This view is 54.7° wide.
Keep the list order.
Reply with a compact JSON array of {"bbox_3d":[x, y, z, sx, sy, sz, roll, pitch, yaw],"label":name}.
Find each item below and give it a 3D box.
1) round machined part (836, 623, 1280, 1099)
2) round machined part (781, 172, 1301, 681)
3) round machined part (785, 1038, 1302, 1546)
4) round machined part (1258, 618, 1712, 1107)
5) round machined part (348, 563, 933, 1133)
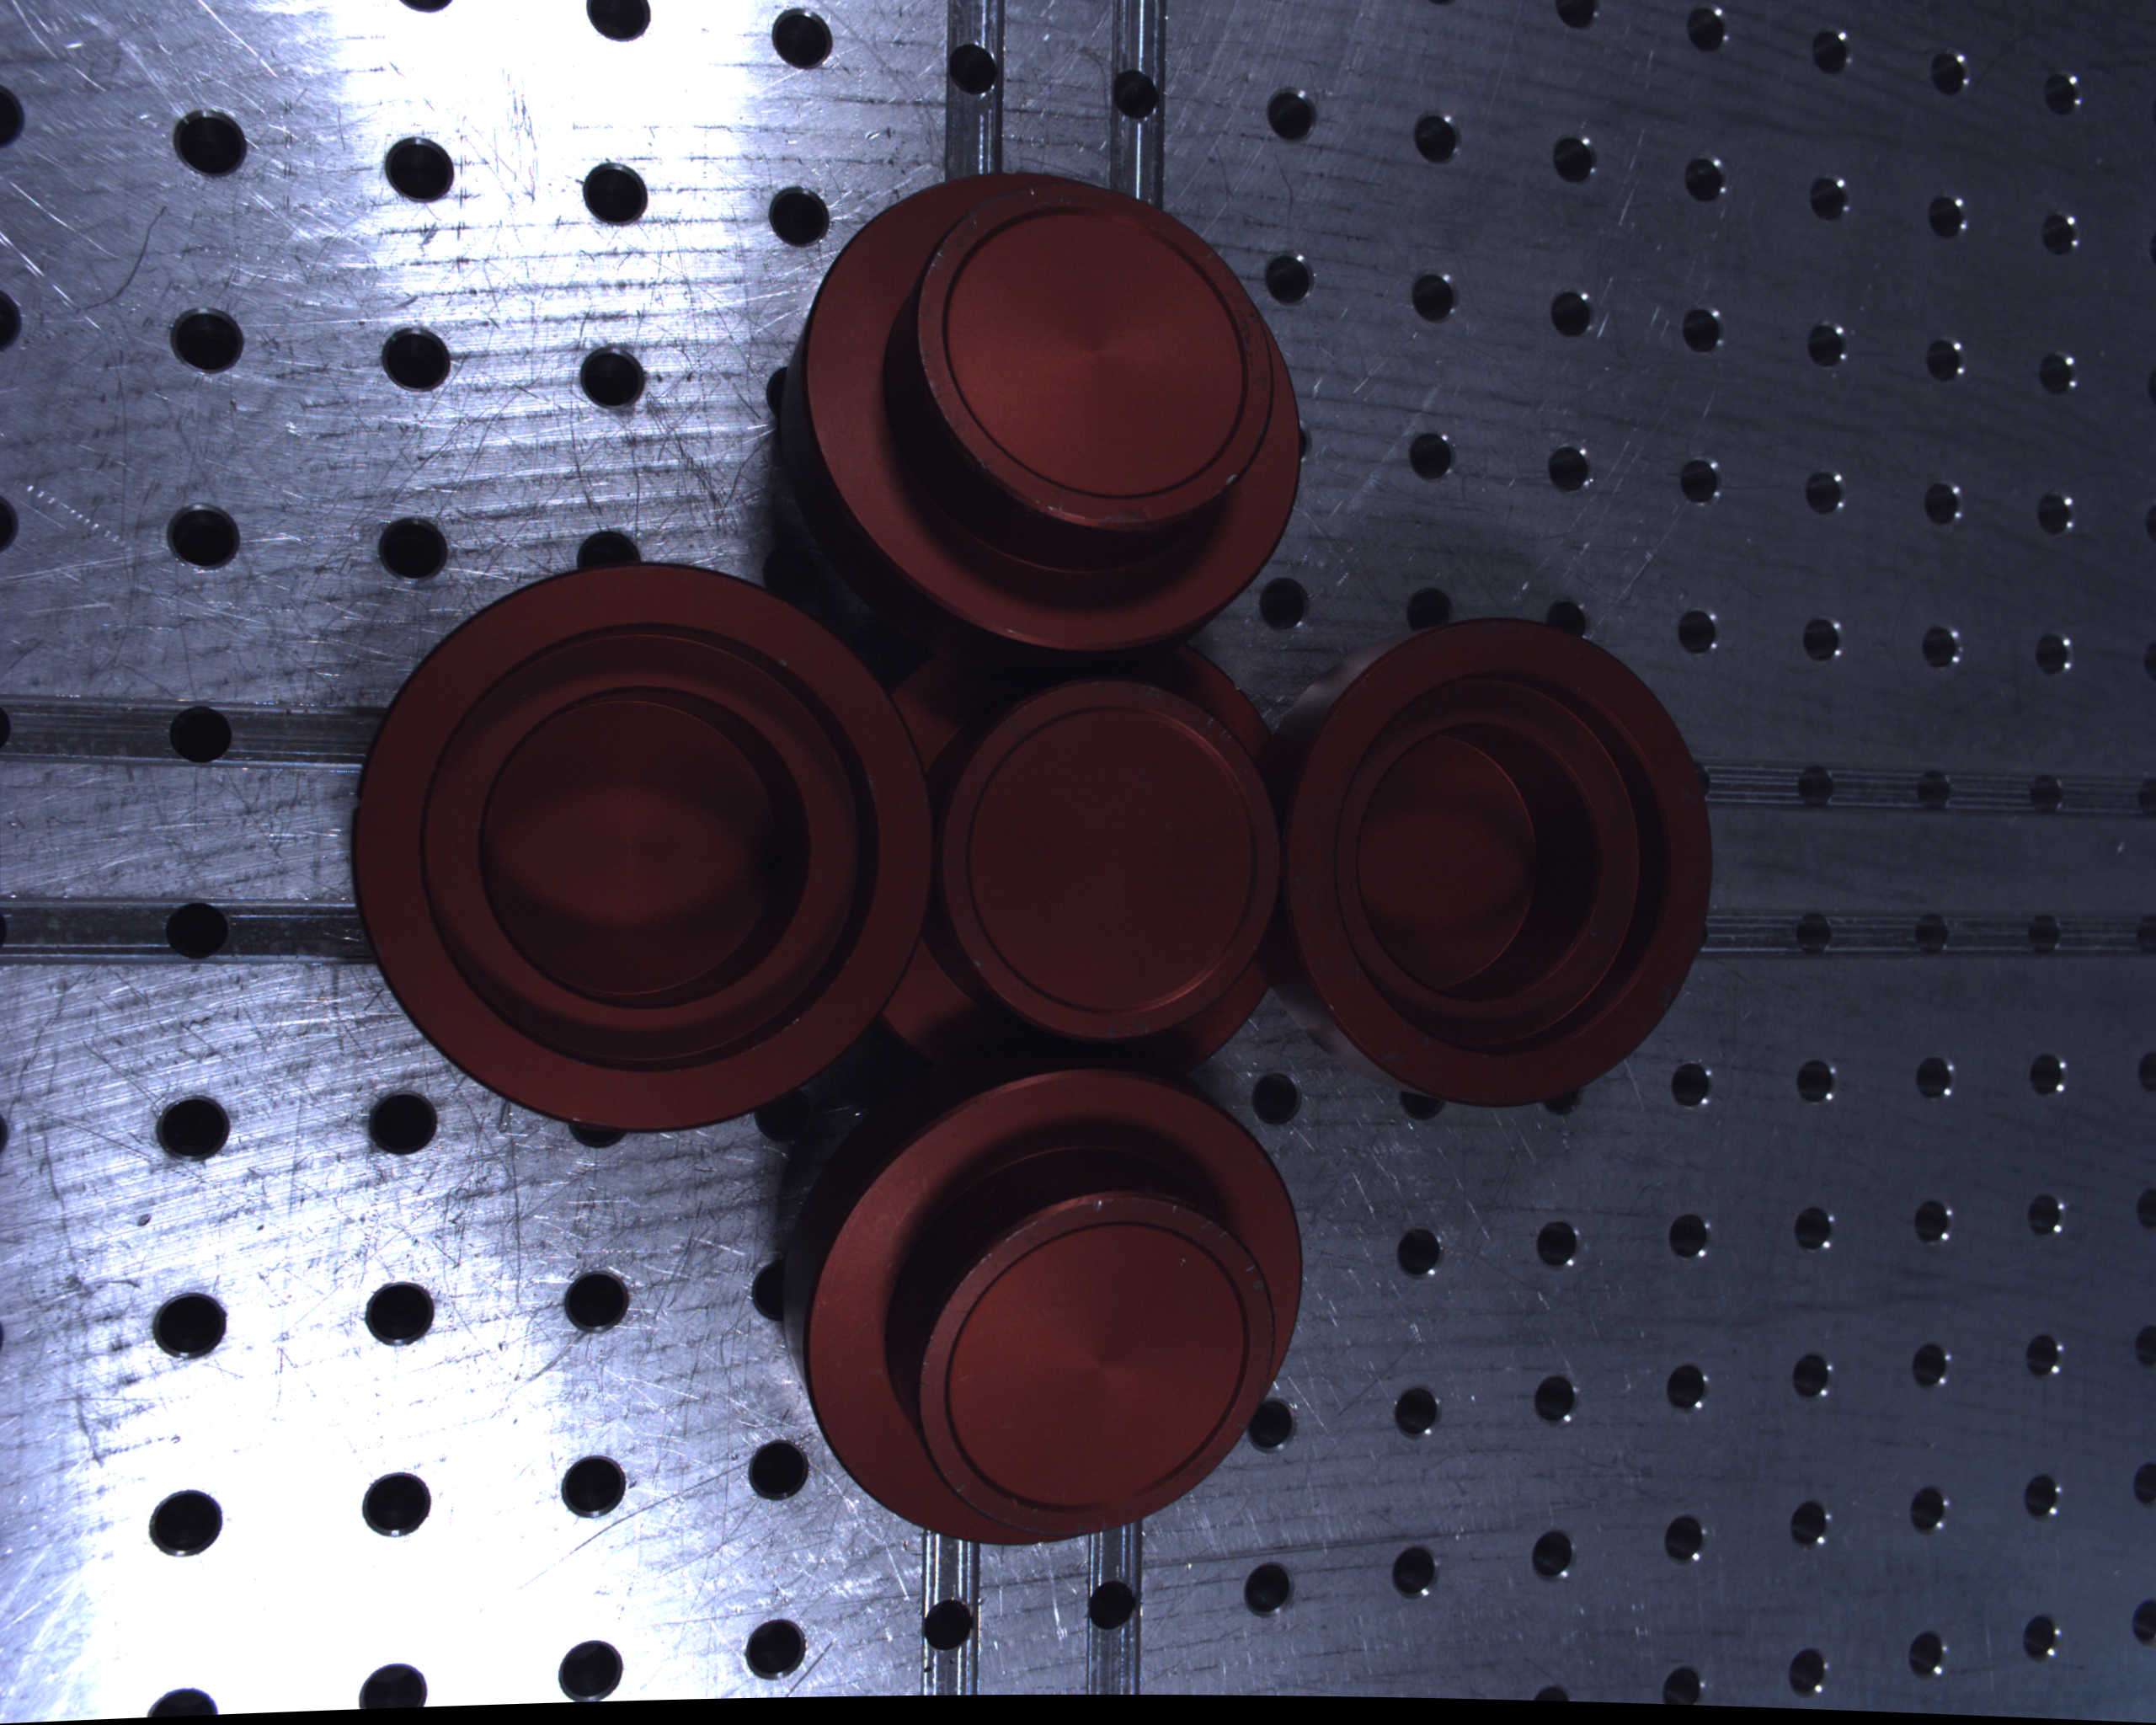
[{"bbox_3d":[-0.001,-0.001,0.403,0.099,0.042,0.097,0,90,-21],"label":"round machined part"},{"bbox_3d":[-0.003,-0.086,0.391,0.099,0.042,0.098,5,74,-17],"label":"round machined part"},{"bbox_3d":[-0.002,0.085,0.391,0.099,0.042,0.097,-6,107,-19],"label":"round machined part"},{"bbox_3d":[0.078,0.000,0.433,0.099,0.042,0.097,0,90,-21],"label":"round machined part"},{"bbox_3d":[-0.079,-0.003,0.374,0.099,0.042,0.097,0,90,-21],"label":"round machined part"}]
